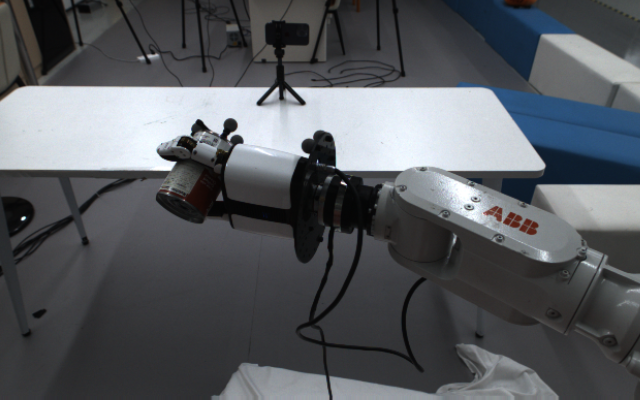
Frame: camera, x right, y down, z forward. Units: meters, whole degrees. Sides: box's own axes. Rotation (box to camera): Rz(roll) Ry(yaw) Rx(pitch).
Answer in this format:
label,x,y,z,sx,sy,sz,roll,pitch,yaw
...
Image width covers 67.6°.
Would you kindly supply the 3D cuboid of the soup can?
label,x,y,z,sx,sy,sz,roll,pitch,yaw
soup can,-0.154,-0.029,0.618,0.067,0.067,0.101,15,63,18
